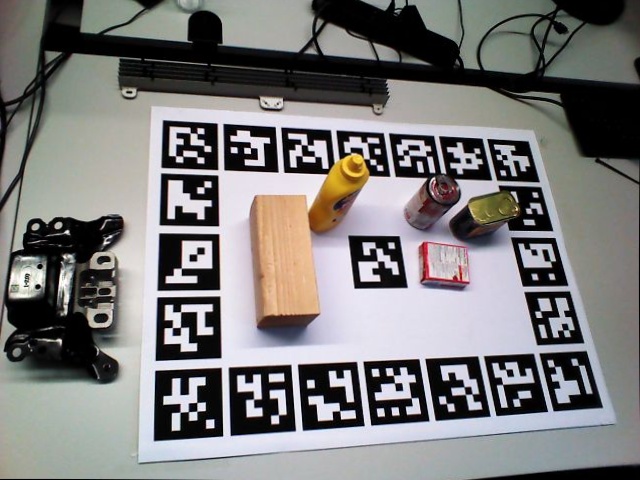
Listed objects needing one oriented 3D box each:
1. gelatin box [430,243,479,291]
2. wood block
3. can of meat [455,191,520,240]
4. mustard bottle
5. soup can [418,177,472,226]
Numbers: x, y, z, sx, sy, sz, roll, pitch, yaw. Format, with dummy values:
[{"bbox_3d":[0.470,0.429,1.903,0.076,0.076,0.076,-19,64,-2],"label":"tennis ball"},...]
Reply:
[{"bbox_3d":[0.246,0.049,0.939,0.089,0.030,0.073,9,68,-7],"label":"gelatin box"},{"bbox_3d":[-0.053,0.033,0.845,0.091,0.090,0.205,2,64,-15],"label":"wood block"},{"bbox_3d":[0.317,-0.045,0.971,0.101,0.084,0.057,-13,72,-21],"label":"can of meat"},{"bbox_3d":[0.044,-0.081,0.864,0.096,0.192,0.058,-25,75,-23],"label":"mustard bottle"},{"bbox_3d":[0.225,-0.074,0.940,0.068,0.102,0.067,4,69,-12],"label":"soup can"}]
